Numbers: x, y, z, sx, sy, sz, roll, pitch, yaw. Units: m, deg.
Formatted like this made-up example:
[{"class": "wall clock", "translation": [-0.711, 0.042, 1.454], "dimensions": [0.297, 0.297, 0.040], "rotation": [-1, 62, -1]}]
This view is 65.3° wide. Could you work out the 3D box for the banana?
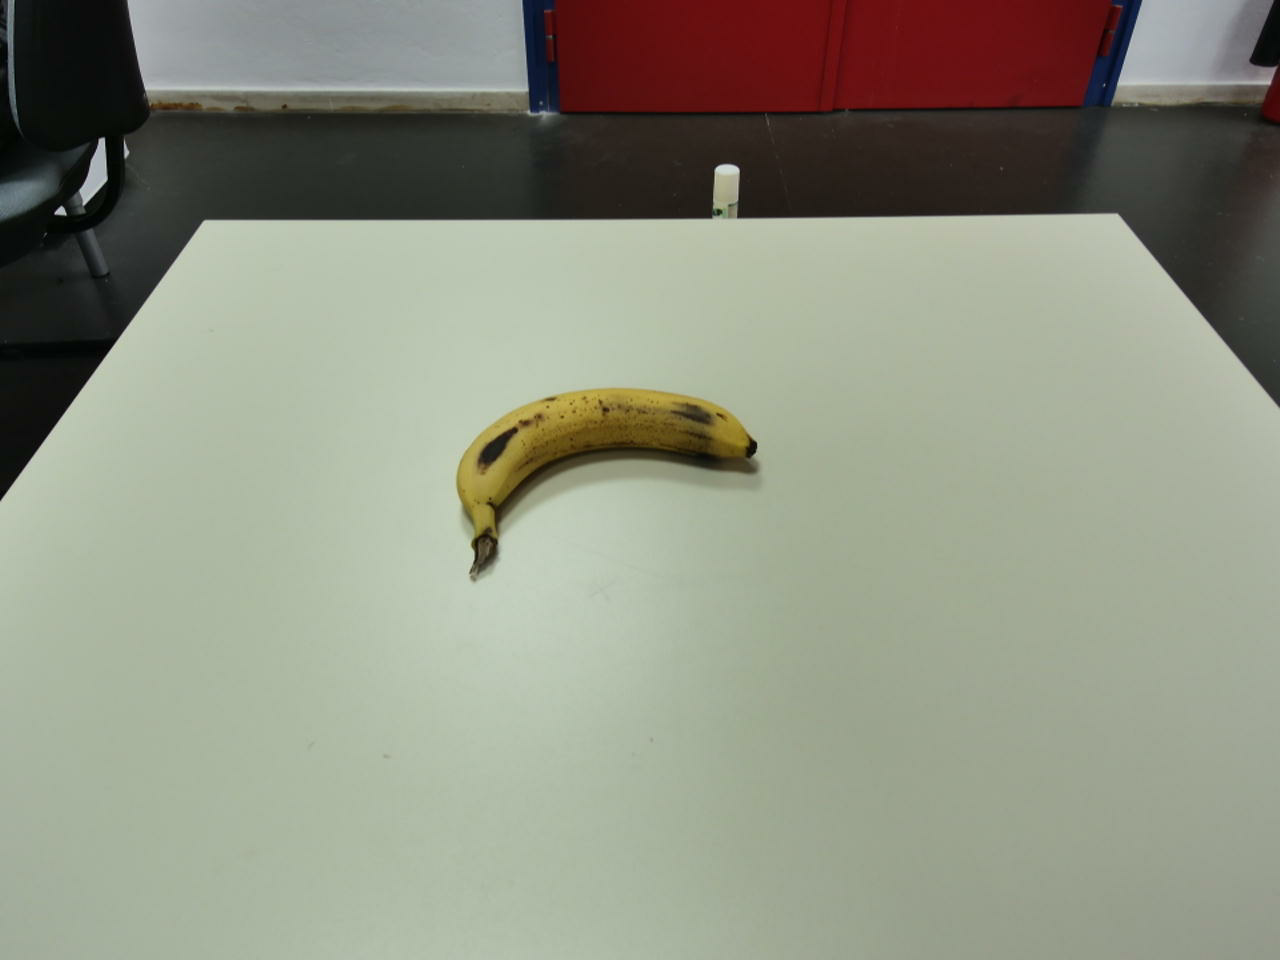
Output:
[{"class": "banana", "translation": [-0.030, -0.018, 0.605], "dimensions": [0.186, 0.038, 0.097], "rotation": [-19, 43, -21]}]
